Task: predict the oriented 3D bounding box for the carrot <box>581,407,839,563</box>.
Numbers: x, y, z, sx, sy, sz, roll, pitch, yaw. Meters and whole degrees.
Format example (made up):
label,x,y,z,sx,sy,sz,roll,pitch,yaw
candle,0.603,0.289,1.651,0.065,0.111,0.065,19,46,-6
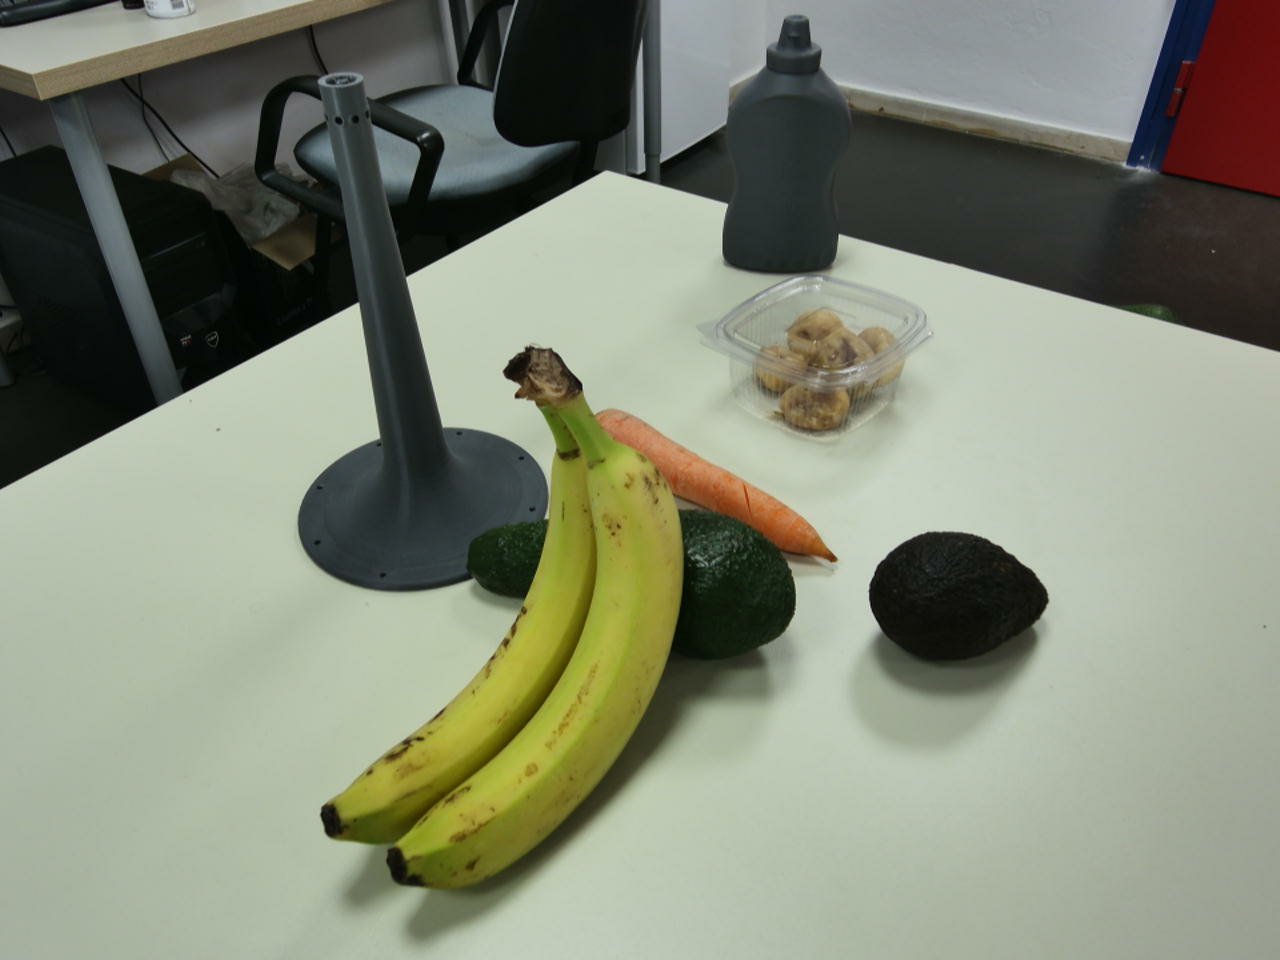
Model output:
label,x,y,z,sx,sy,sz,roll,pitch,yaw
carrot,0.043,0.000,0.642,0.196,0.041,0.039,25,44,29
